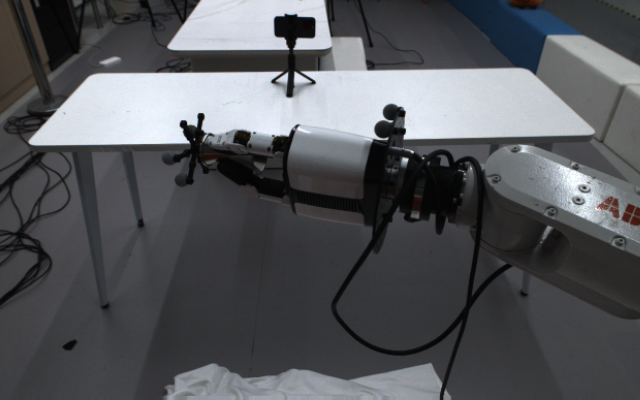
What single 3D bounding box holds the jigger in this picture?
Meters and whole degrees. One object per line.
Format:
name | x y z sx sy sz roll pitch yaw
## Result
jigger | -0.095 -0.060 0.569 0.071 0.043 0.043 8 35 15
